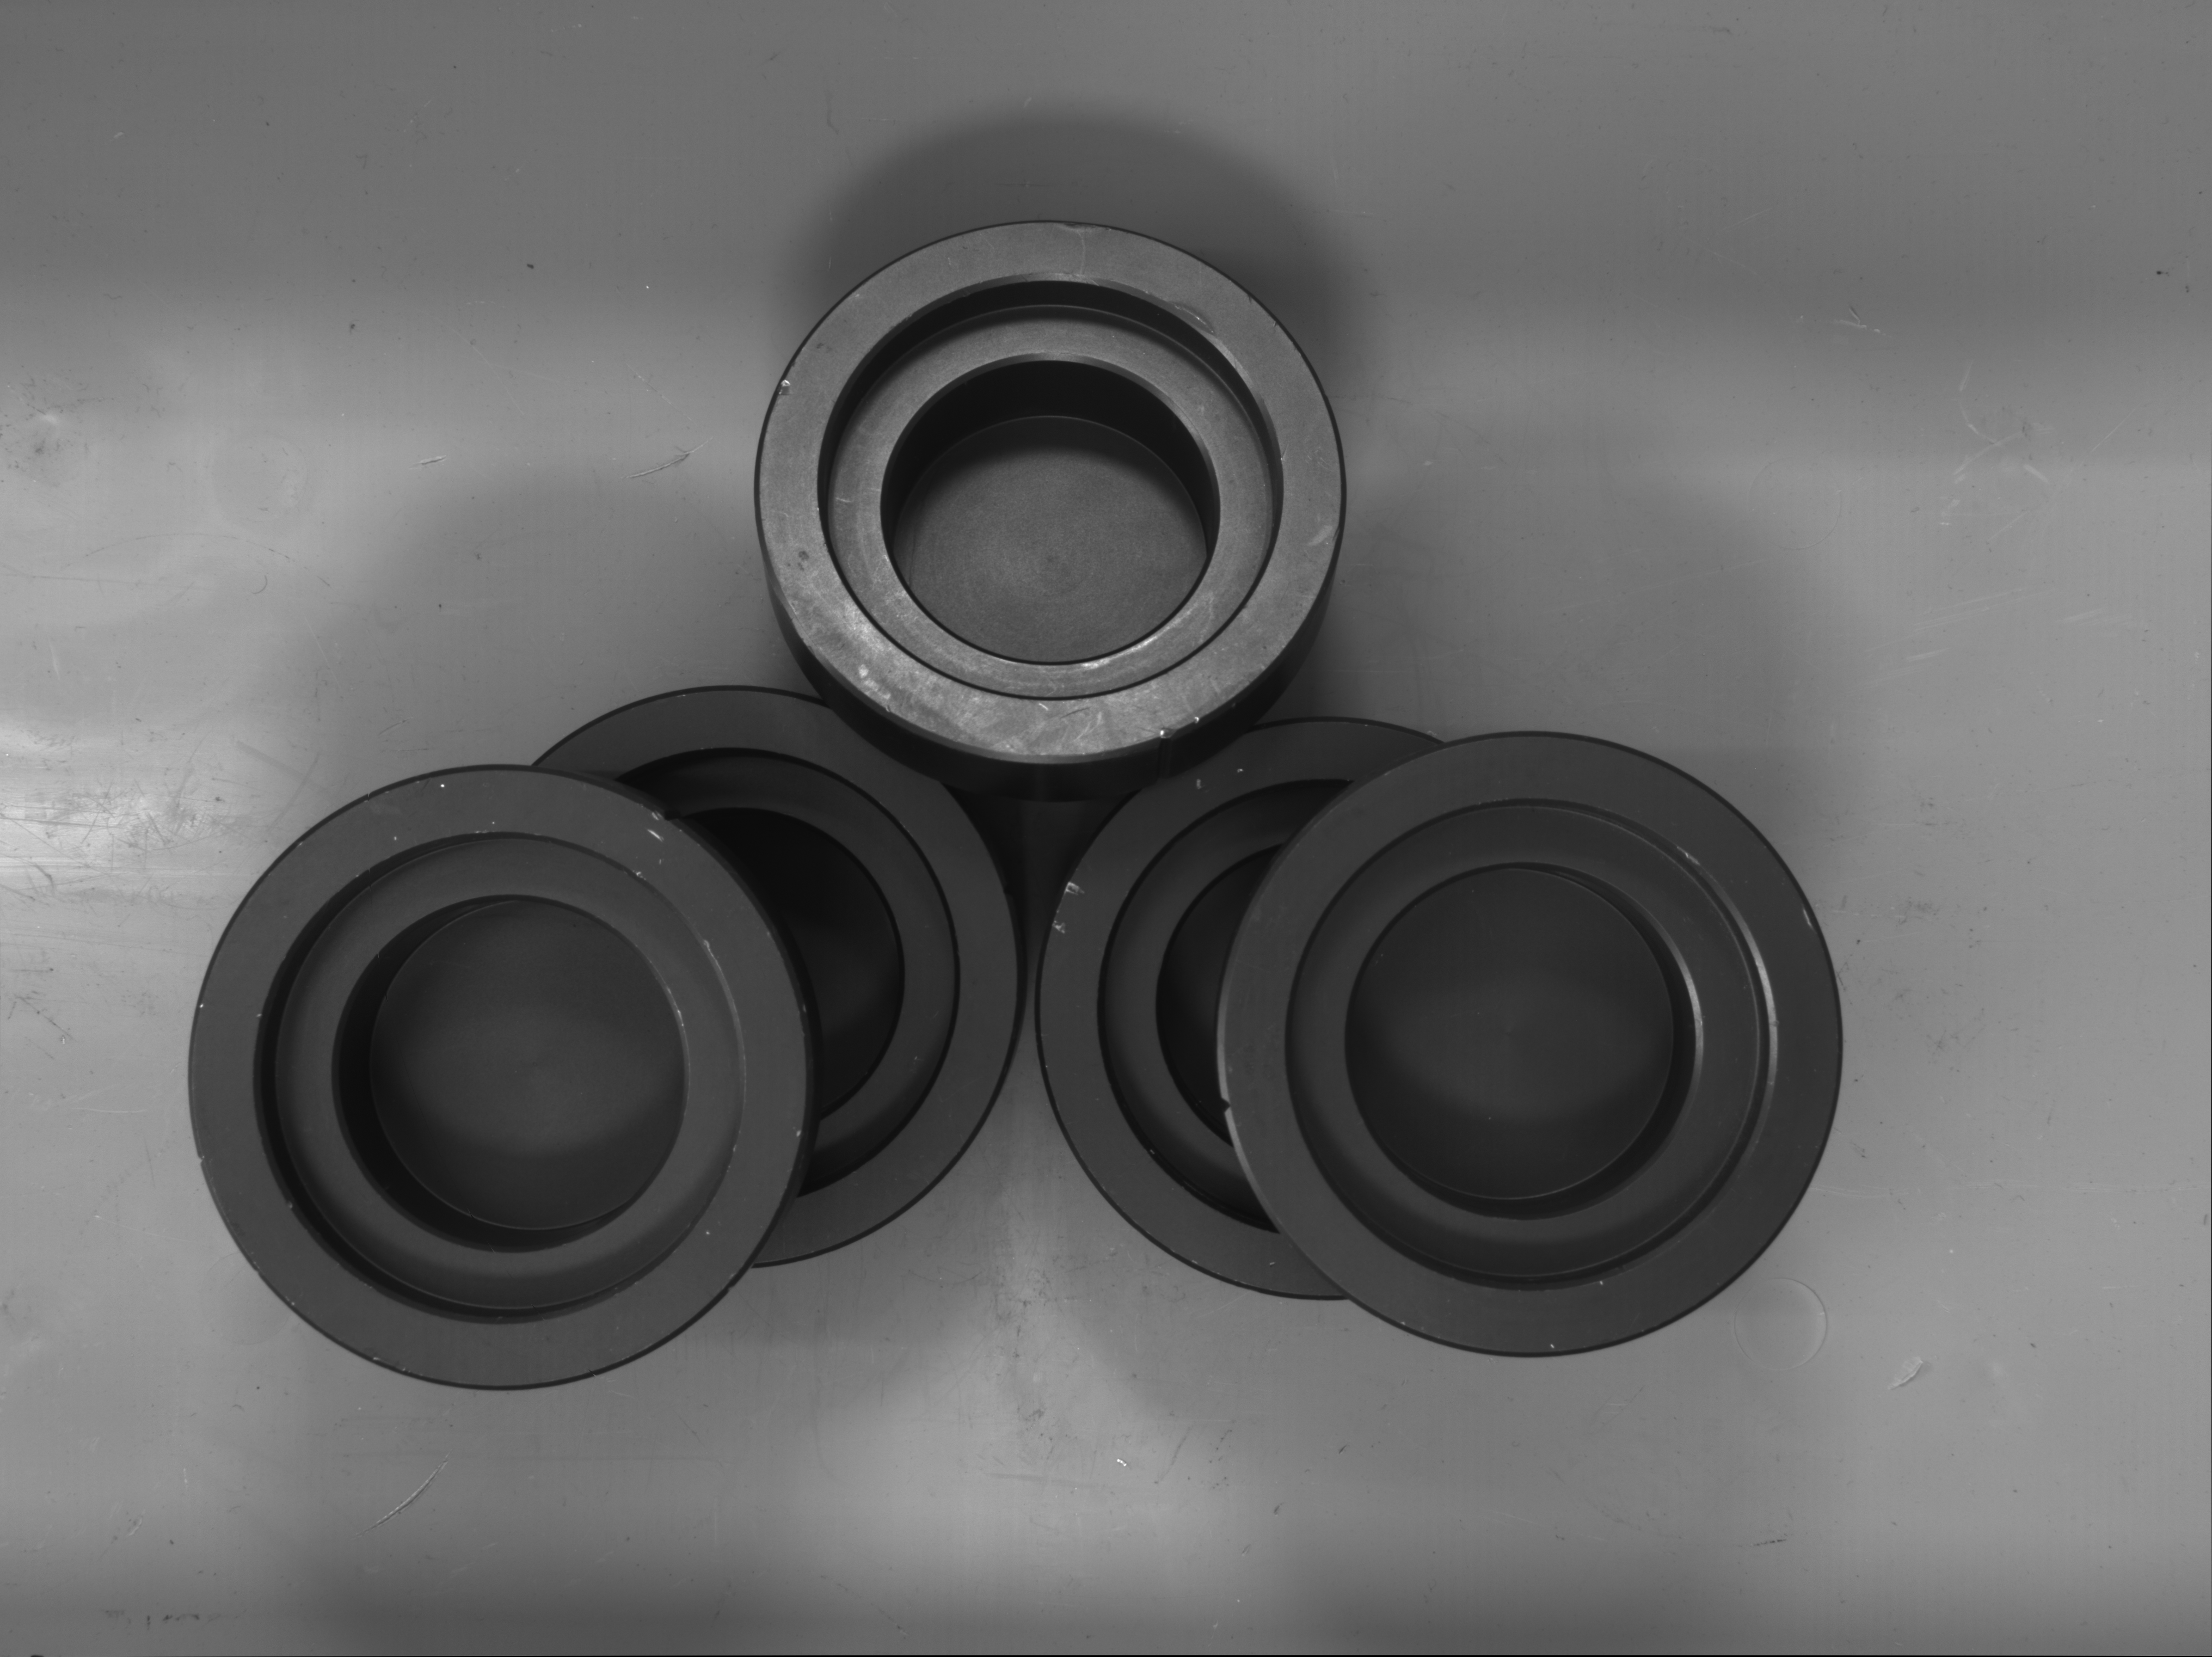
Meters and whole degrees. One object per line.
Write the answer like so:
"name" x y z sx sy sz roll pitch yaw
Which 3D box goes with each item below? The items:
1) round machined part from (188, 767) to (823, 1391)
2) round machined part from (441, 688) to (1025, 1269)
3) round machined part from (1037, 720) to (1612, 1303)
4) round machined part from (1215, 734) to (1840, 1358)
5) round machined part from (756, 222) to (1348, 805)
"round machined part" -0.094 0.039 0.594 0.098 0.042 0.098 0 90 0
"round machined part" -0.063 0.025 0.636 0.098 0.042 0.098 0 90 0
"round machined part" 0.037 0.031 0.636 0.098 0.042 0.098 0 90 0
"round machined part" 0.066 0.034 0.594 0.098 0.042 0.098 0 90 0
"round machined part" -0.009 -0.050 0.626 0.098 0.042 0.098 0 72 -1
